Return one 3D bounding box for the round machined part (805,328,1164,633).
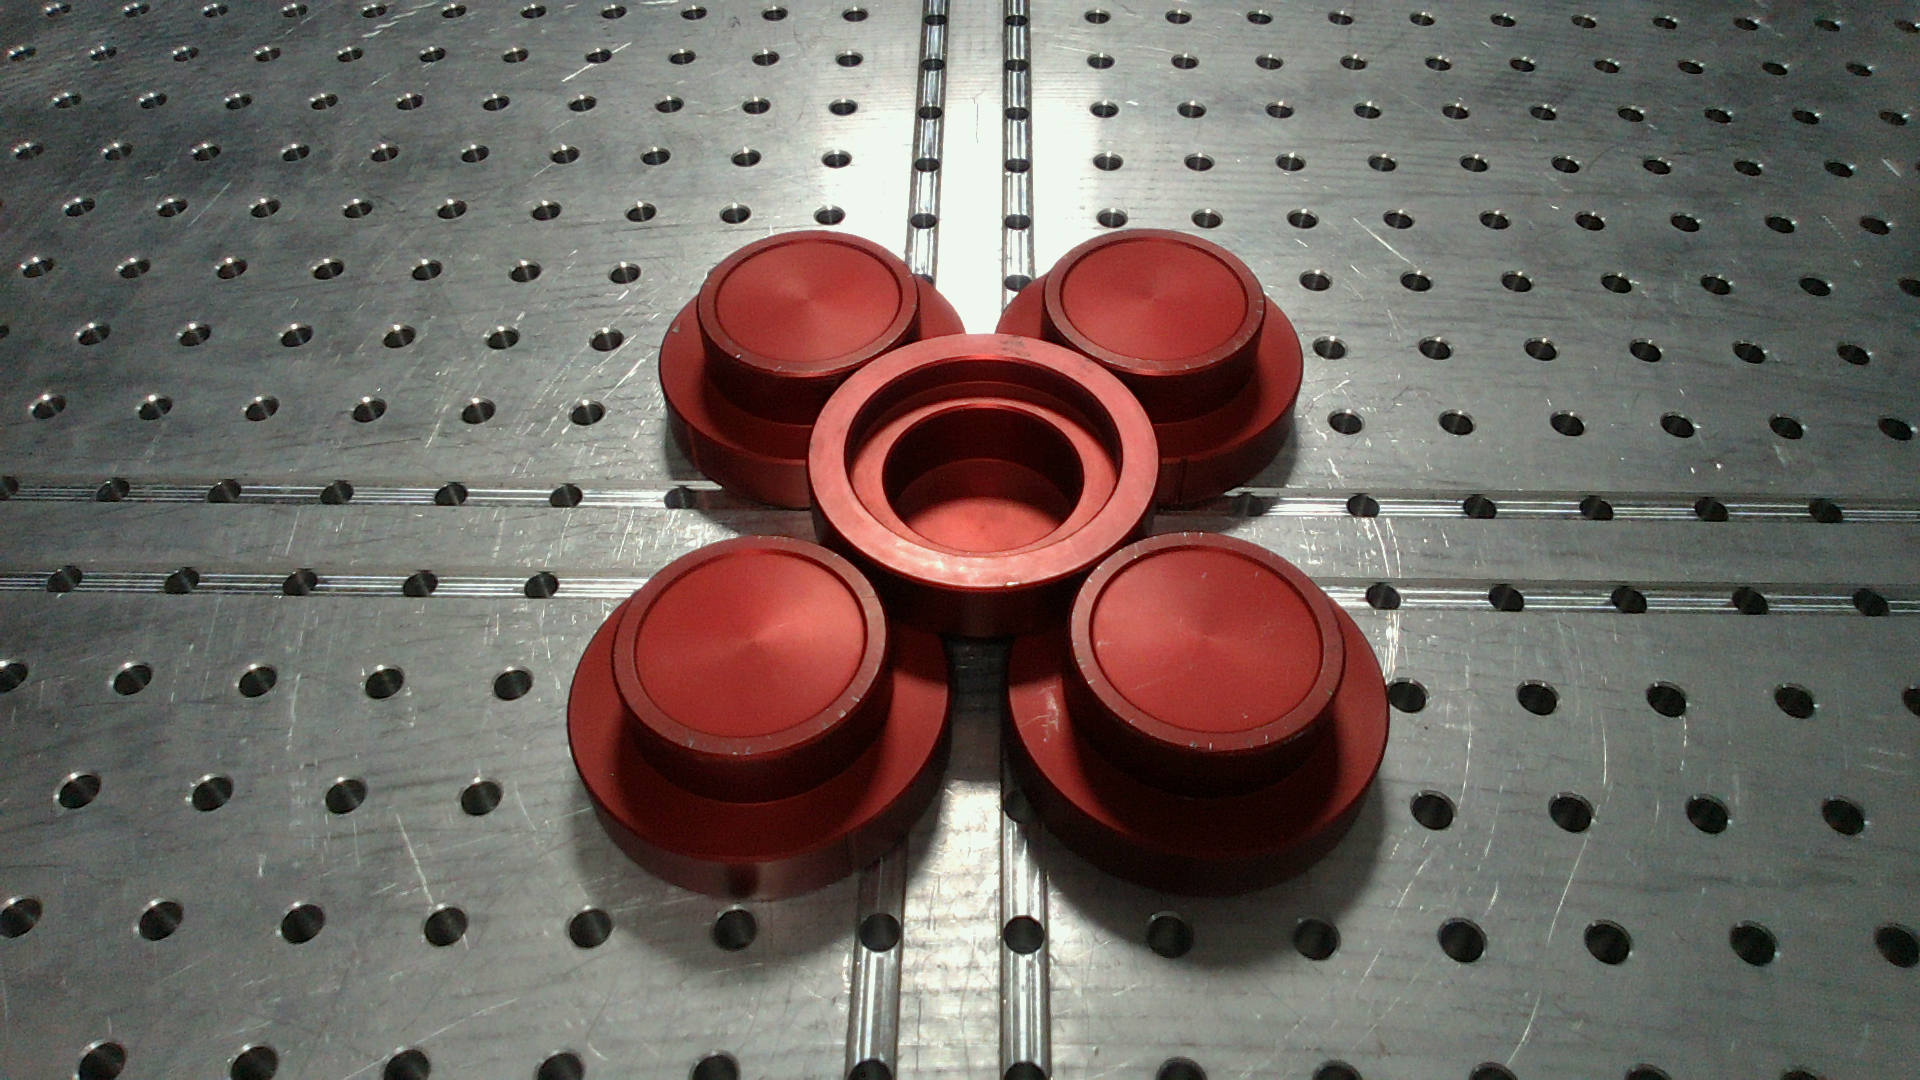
[{"bbox_3d":[0.007,-0.013,0.392,0.098,0.042,0.098,0,50,0],"label":"round machined part"}]

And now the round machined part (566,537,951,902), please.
[{"bbox_3d":[-0.051,0.038,0.352,0.098,0.042,0.098,0,50,0],"label":"round machined part"}]

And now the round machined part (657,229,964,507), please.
[{"bbox_3d":[-0.046,-0.060,0.434,0.098,0.042,0.098,0,50,0],"label":"round machined part"}]

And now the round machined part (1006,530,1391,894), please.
[{"bbox_3d":[0.061,0.036,0.352,0.098,0.042,0.098,0,50,0],"label":"round machined part"}]

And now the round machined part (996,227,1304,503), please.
[{"bbox_3d":[0.059,-0.061,0.434,0.098,0.042,0.098,0,50,0],"label":"round machined part"}]
